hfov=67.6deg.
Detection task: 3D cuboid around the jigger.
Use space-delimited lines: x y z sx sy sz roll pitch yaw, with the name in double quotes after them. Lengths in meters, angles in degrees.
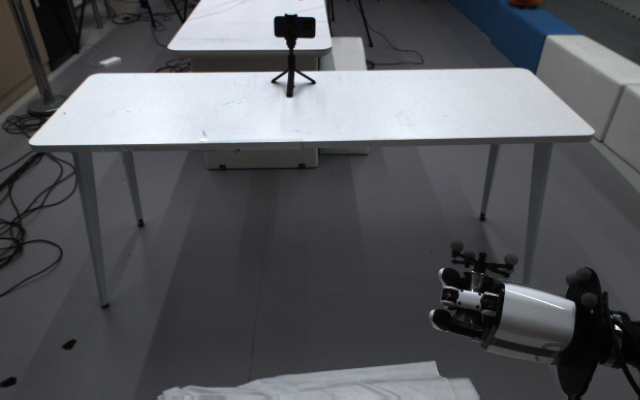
0.205 0.132 0.639 0.043 0.043 0.071 13 69 15 "jigger"
